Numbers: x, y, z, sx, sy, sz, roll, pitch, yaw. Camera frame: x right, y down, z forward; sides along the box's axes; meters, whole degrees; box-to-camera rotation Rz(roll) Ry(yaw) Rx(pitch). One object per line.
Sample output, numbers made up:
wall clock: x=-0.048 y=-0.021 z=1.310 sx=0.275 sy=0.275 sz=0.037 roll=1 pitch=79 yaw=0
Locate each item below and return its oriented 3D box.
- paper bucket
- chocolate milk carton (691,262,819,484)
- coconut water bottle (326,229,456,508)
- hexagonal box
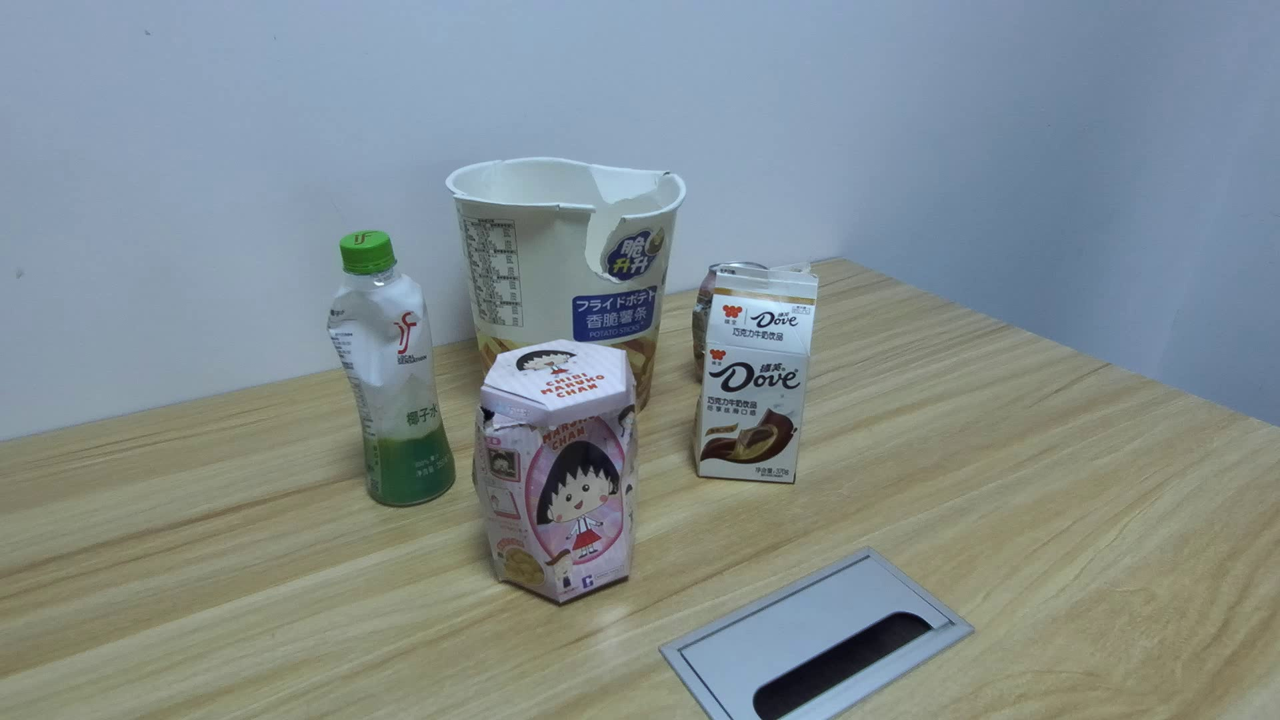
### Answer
paper bucket: x=-0.061 y=-0.057 z=0.594 sx=0.202 sy=0.197 sz=0.146 roll=9 pitch=29 yaw=19
chocolate milk carton: x=0.080 y=0.005 z=0.518 sx=0.084 sy=0.155 sz=0.073 roll=2 pitch=27 yaw=5
coconut water bottle: x=-0.171 y=0.006 z=0.486 sx=0.069 sy=0.187 sz=0.069 roll=1 pitch=26 yaw=0
hexagonal box: x=-0.049 y=0.066 z=0.431 sx=0.091 sy=0.134 sz=0.090 roll=4 pitch=25 yaw=9
